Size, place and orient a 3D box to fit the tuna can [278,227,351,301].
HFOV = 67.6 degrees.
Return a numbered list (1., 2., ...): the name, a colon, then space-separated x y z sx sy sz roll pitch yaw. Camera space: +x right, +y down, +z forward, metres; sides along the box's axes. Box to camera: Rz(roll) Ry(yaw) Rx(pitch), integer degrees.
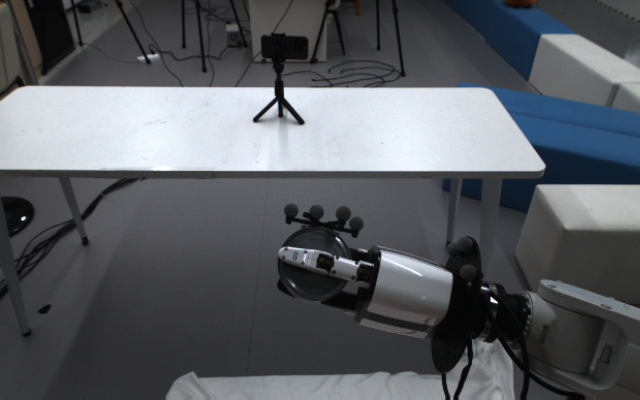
1. tuna can: -0.005 0.072 0.563 0.085 0.034 0.085 1 72 -3
